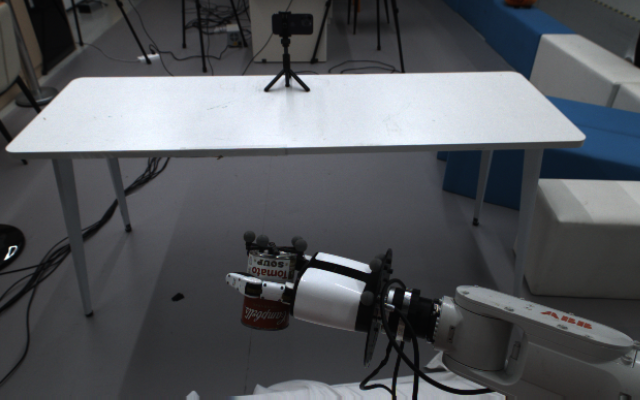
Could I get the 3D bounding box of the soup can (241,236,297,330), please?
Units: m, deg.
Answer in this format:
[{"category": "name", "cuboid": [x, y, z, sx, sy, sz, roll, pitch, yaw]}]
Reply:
[{"category": "soup can", "cuboid": [-0.070, 0.122, 0.673, 0.067, 0.101, 0.067, 7, 3, 0]}]
